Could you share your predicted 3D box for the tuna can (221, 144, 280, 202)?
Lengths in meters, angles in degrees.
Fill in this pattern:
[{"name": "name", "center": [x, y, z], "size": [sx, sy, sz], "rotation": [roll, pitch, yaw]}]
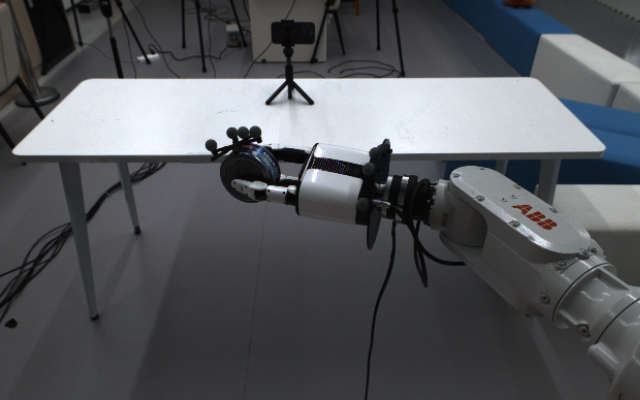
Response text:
[{"name": "tuna can", "center": [-0.101, -0.033, 0.717], "size": [0.085, 0.085, 0.034], "rotation": [11, 34, 13]}]
